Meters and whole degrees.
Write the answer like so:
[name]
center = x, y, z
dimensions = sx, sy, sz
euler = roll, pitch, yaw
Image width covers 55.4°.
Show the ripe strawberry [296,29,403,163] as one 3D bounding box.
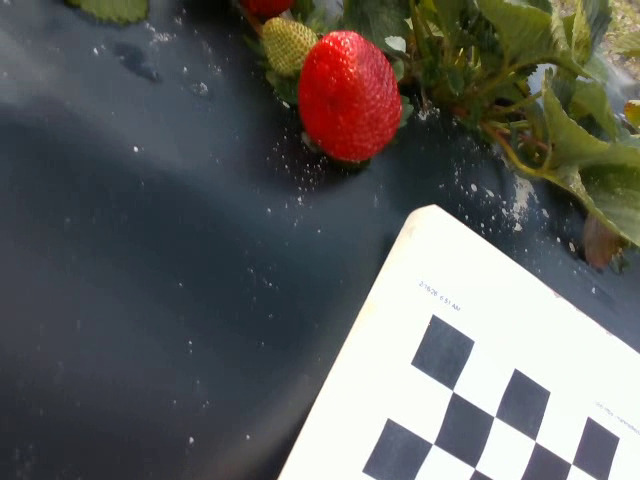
[ripe strawberry]
center = 0.007, -0.027, 0.107
dimensions = 0.022, 0.025, 0.030
euler = 12, -3, 5
